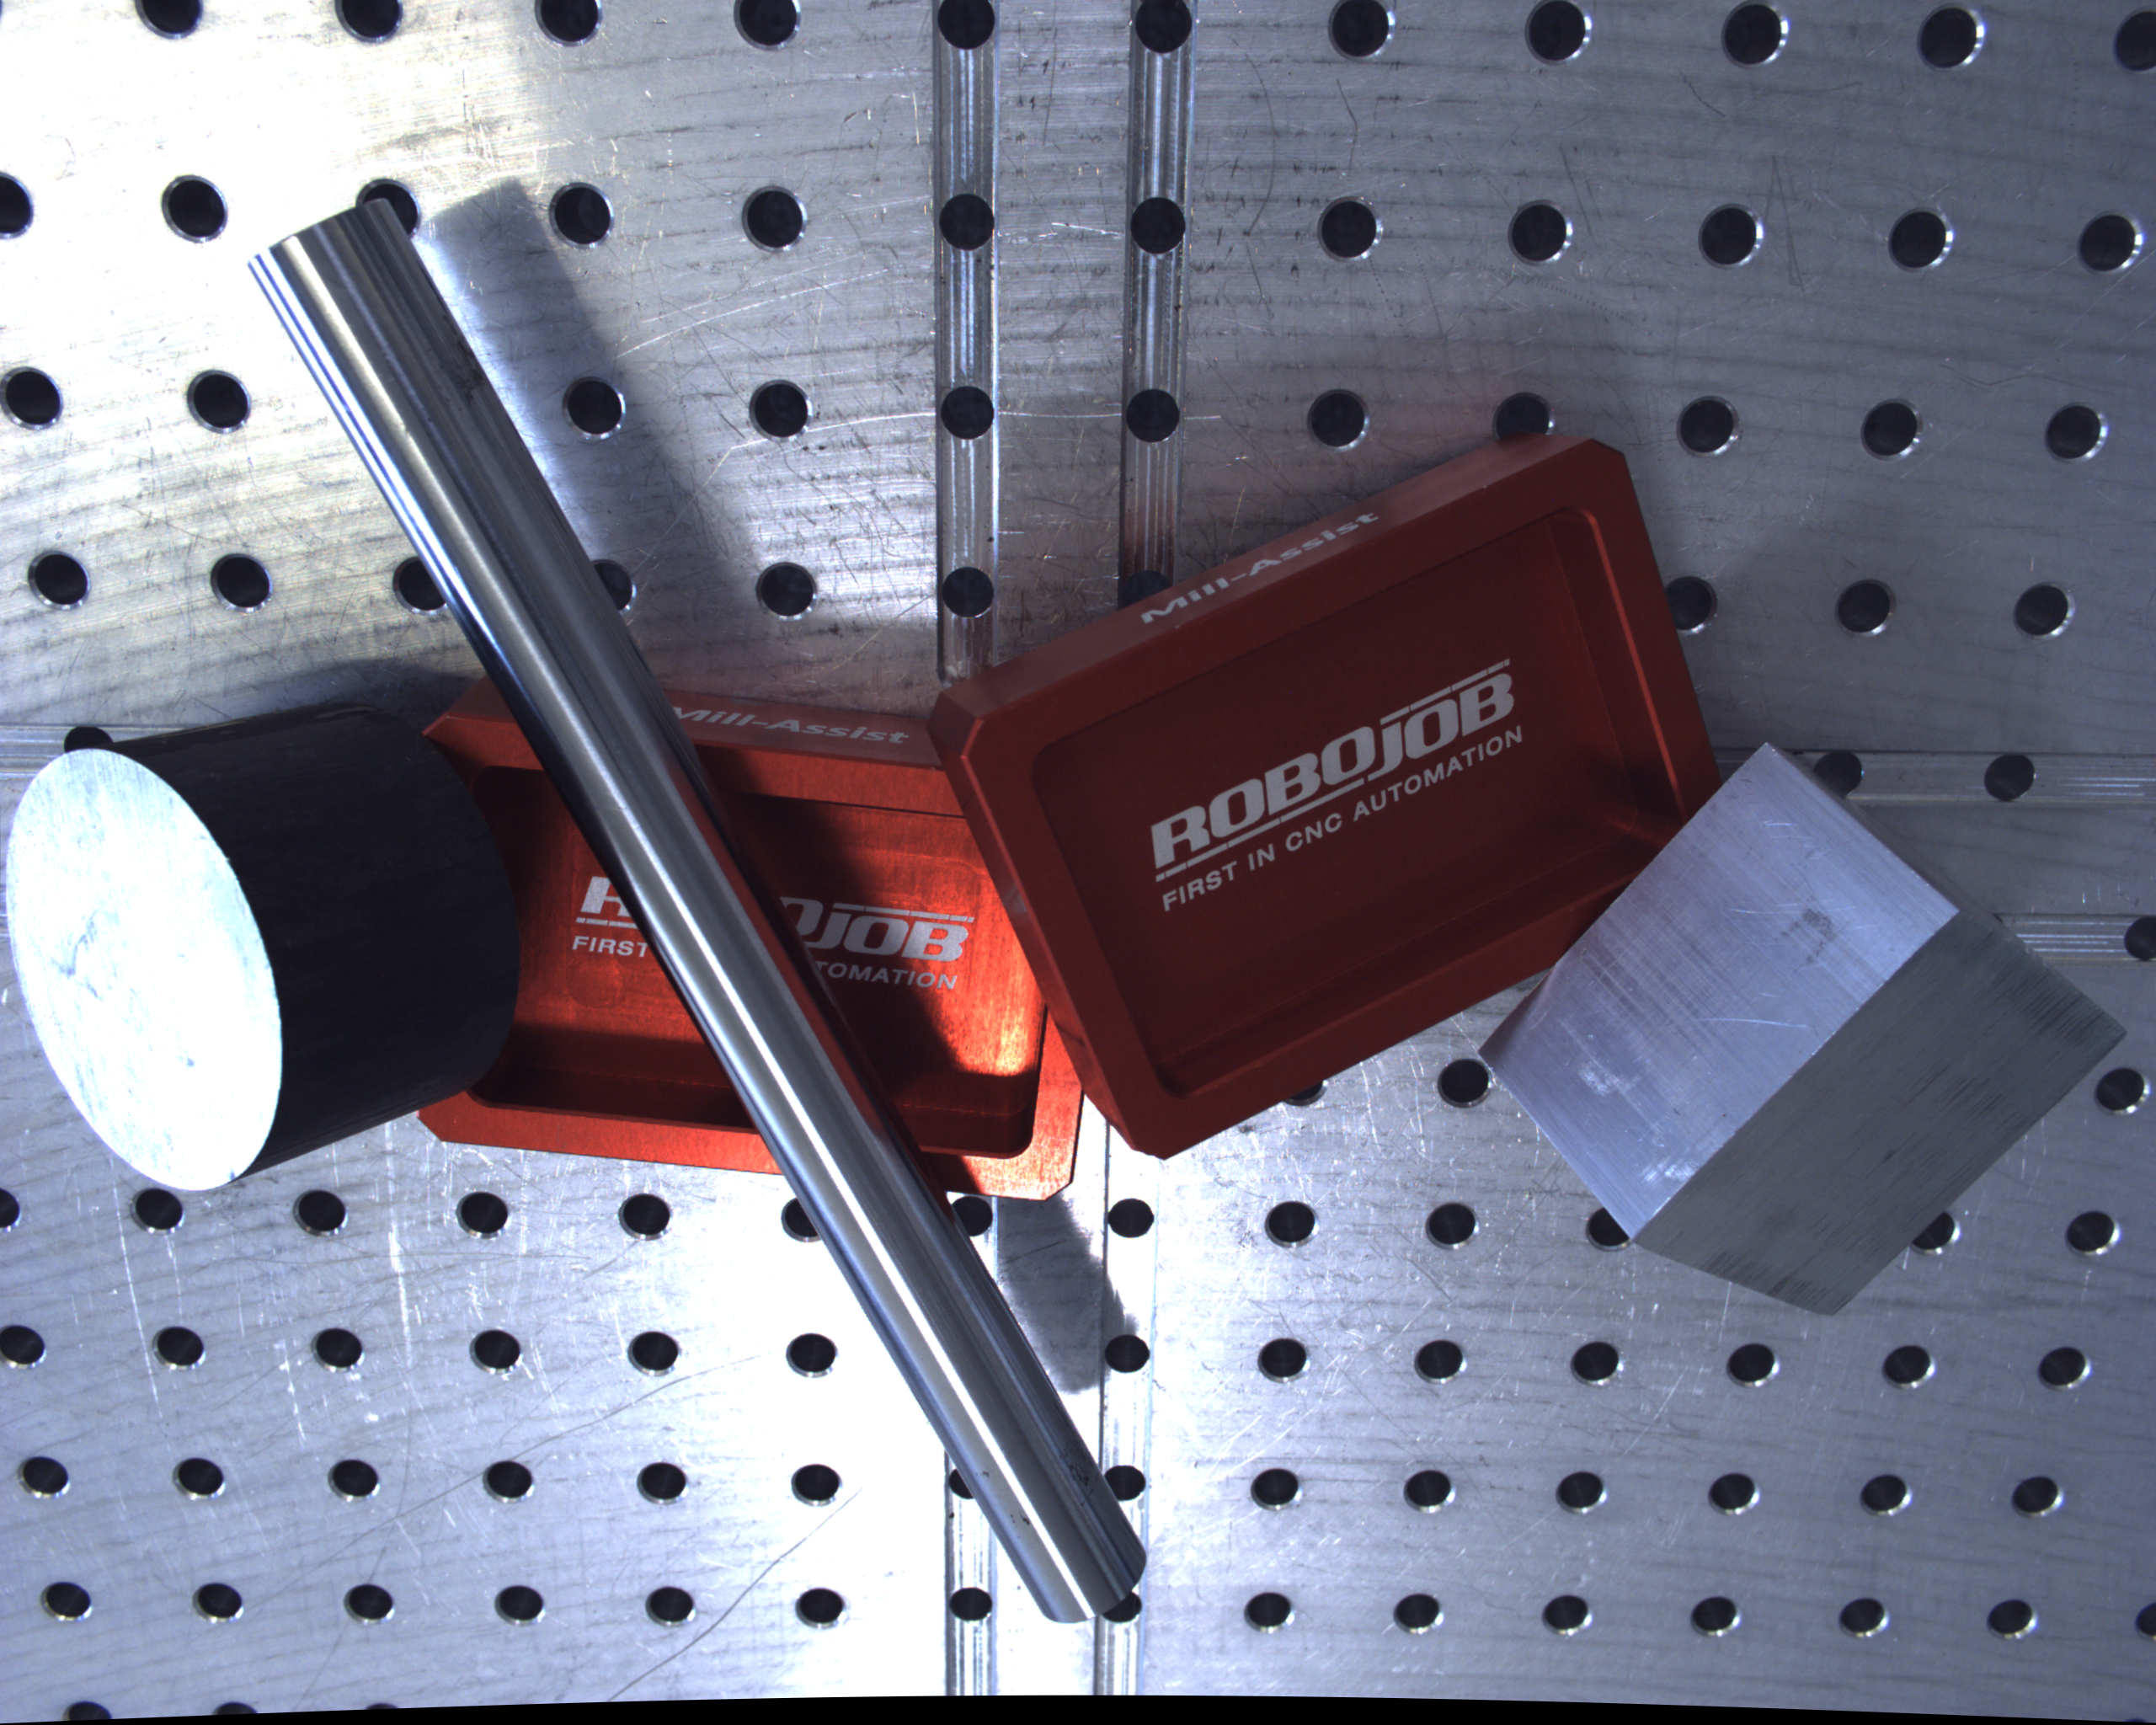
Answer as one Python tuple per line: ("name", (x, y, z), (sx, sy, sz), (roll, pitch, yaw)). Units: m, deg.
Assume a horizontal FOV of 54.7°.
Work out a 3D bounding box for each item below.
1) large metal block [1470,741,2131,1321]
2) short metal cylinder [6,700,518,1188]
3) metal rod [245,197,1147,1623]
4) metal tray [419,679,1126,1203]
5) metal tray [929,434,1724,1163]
("large metal block", (0.137, 0.035, 0.395), (0.080, 0.050, 0.080), (25, 112, -42))
("short metal cylinder", (-0.150, 0.013, 0.384), (0.080, 0.050, 0.079), (10, 109, 33))
("metal rod", (-0.061, 0.023, 0.389), (0.025, 0.025, 0.299), (-24, 109, 8))
("metal tray", (-0.061, 0.016, 0.415), (0.131, 0.030, 0.089), (6, 110, -3))
("metal tray", (0.050, -0.013, 0.386), (0.131, 0.030, 0.090), (-25, 109, -9))
